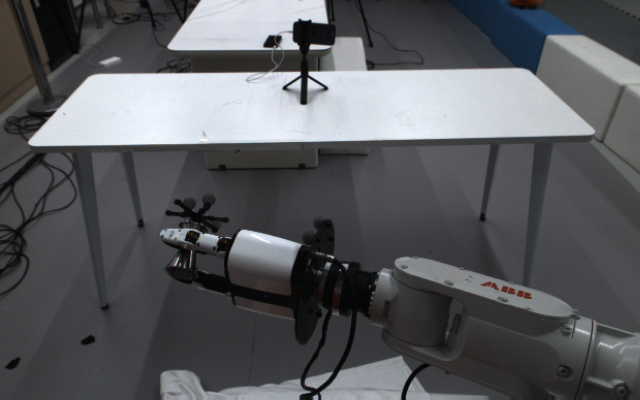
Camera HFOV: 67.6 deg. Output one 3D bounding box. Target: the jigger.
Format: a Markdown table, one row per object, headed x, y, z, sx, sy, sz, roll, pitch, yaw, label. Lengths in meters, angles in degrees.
| x | y | z | sx | sy | sz | roll | pitch | yaw | label |
| --- | --- | --- | --- | --- | --- | --- | --- | --- | --- |
| -0.180 | 0.066 | 0.648 | 0.043 | 0.043 | 0.071 | 6 | 60 | 6 | jigger |
